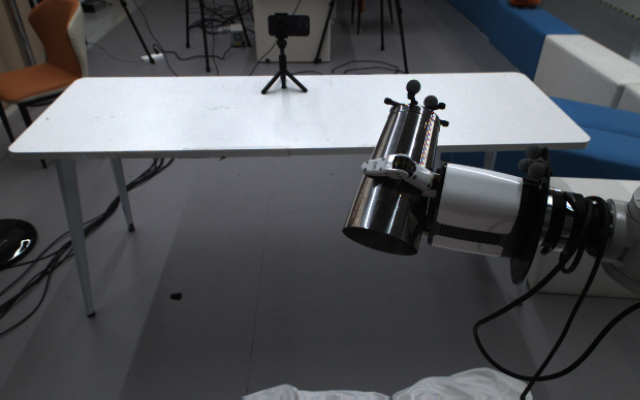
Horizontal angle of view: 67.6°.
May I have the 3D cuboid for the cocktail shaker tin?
[{"bbox_3d":[0.097,-0.027,0.593,0.093,0.093,0.170,14,73,16],"label":"cocktail shaker tin"}]
